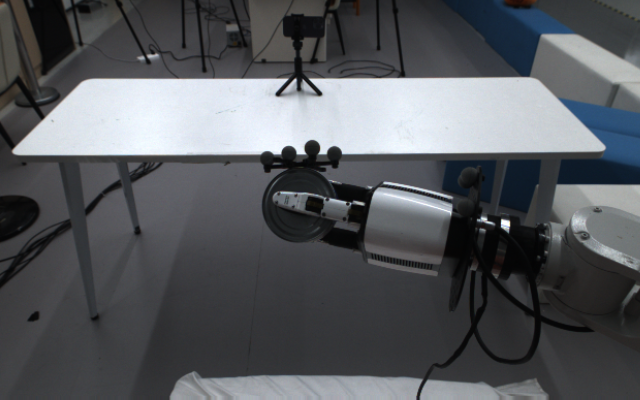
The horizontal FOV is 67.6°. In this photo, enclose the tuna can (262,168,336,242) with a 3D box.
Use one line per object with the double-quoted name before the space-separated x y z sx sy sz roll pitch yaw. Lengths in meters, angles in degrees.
"tuna can" -0.018 0.011 0.553 0.085 0.085 0.034 10 -6 11
